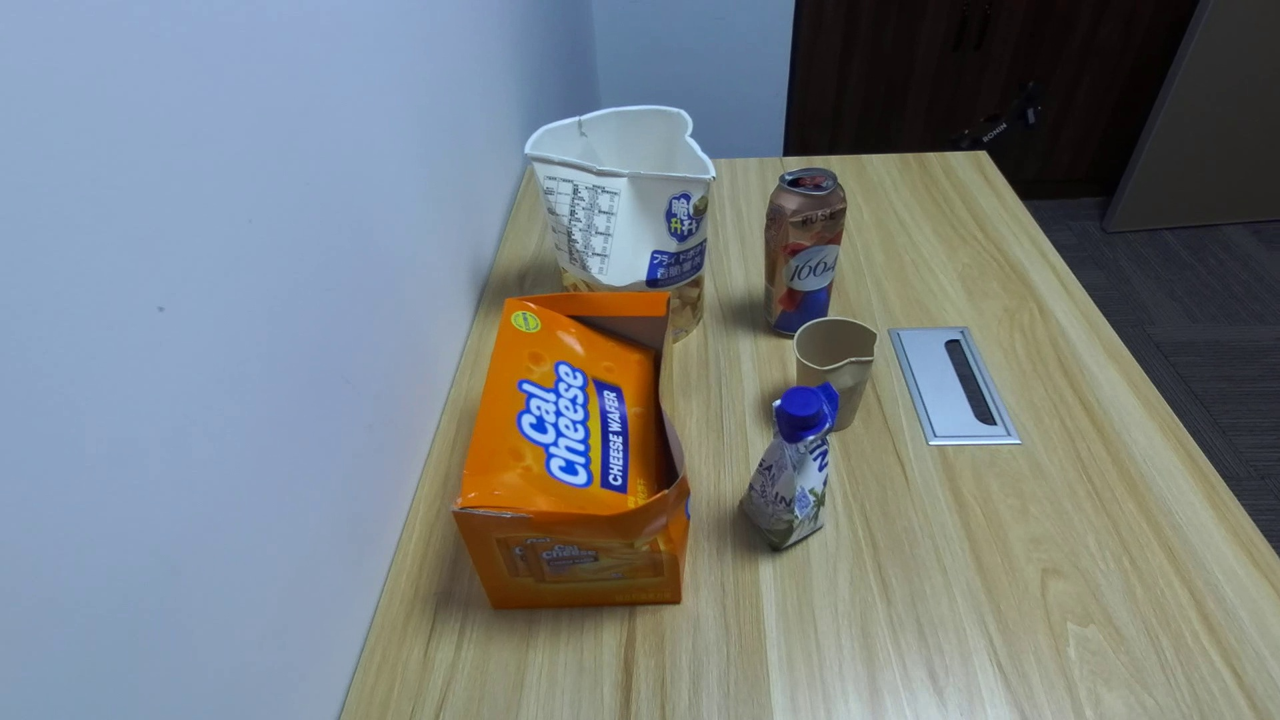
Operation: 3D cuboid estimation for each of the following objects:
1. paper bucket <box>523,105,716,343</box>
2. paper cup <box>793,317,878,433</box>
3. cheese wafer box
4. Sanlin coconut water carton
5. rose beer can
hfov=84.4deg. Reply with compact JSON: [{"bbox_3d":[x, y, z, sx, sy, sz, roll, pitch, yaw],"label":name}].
[{"bbox_3d":[-0.017,-0.127,0.718,0.163,0.202,0.168,-9,38,-2],"label":"paper bucket"},{"bbox_3d":[0.169,0.015,0.628,0.068,0.081,0.073,10,43,17],"label":"paper cup"},{"bbox_3d":[-0.040,0.067,0.557,0.152,0.132,0.230,-2,41,2],"label":"cheese wafer box"},{"bbox_3d":[0.122,0.077,0.522,0.069,0.144,0.056,-16,49,-25],"label":"Sanlin coconut water carton"},{"bbox_3d":[0.162,-0.104,0.703,0.076,0.167,0.065,-10,39,-4],"label":"rose beer can"}]
